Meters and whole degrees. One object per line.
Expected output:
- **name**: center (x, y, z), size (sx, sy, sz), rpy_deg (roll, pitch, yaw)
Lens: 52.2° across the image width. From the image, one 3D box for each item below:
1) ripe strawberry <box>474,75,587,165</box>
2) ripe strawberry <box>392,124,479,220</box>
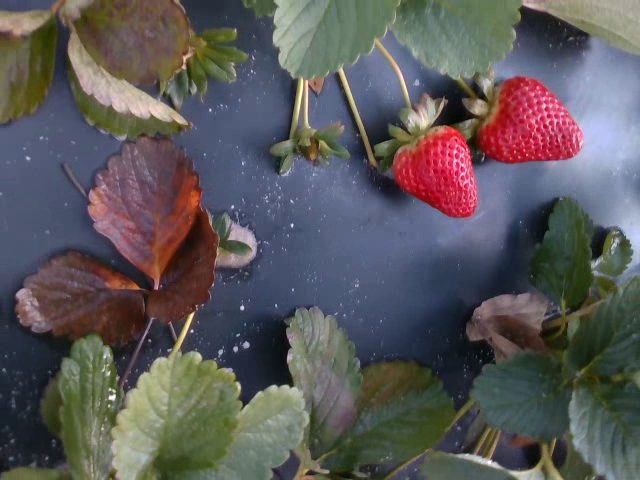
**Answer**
- **ripe strawberry**: center (0.125, -0.064, 0.374), size (0.064, 0.058, 0.051), rpy_deg (24, 4, 4)
- **ripe strawberry**: center (0.069, -0.037, 0.363), size (0.048, 0.056, 0.041), rpy_deg (-35, 3, -11)
